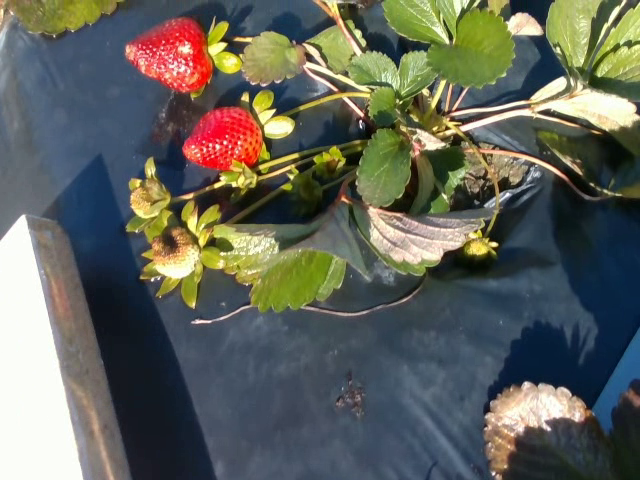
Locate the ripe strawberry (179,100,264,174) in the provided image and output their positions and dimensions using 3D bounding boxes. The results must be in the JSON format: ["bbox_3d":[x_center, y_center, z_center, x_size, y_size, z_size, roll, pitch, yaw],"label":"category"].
[{"bbox_3d":[-0.053,-0.049,0.287,0.042,0.039,0.049,12,26,39],"label":"ripe strawberry"}]

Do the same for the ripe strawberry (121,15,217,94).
[{"bbox_3d":[-0.088,-0.106,0.317,0.050,0.051,0.044,-1,-19,-32],"label":"ripe strawberry"}]
